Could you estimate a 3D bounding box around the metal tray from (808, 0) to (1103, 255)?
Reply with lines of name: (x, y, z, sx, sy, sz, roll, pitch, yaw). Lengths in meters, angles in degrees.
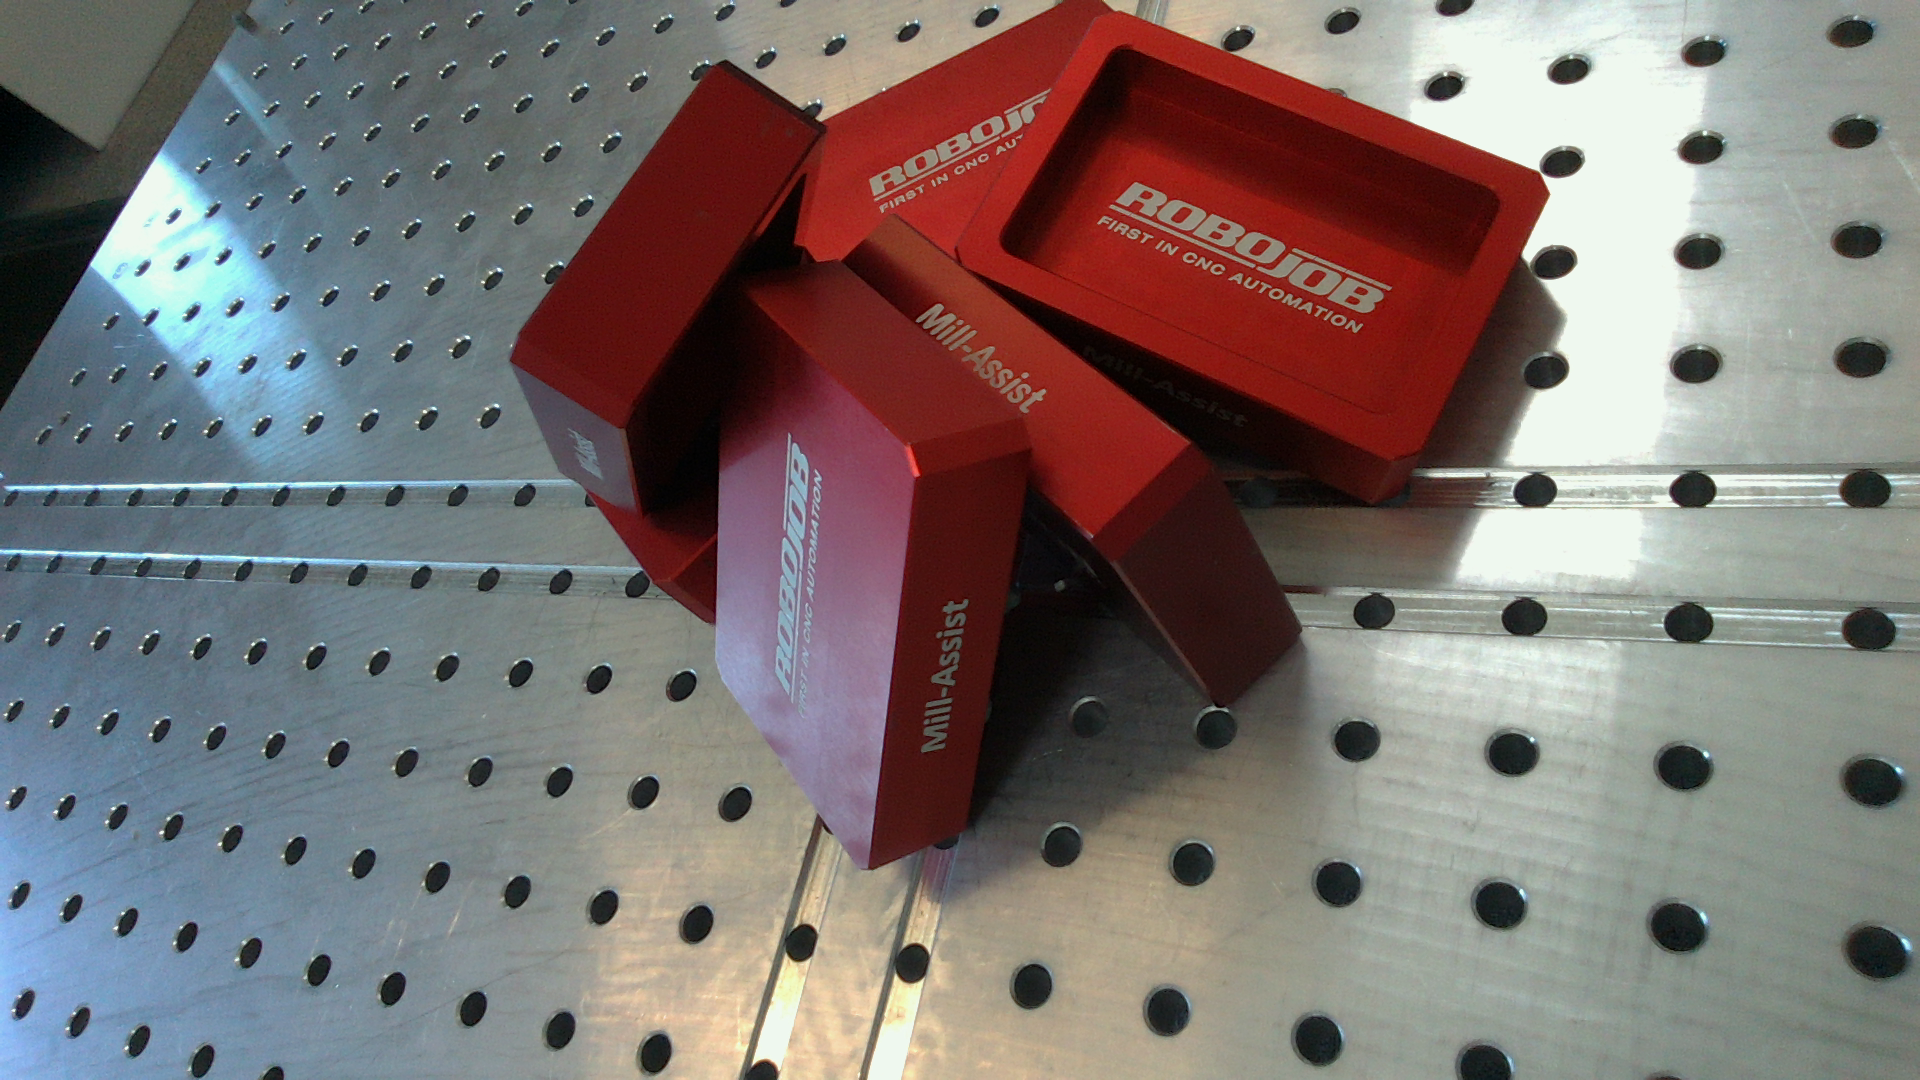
metal tray: (0.009, -0.114, 0.435, 0.130, 0.030, 0.090, -29, 54, -8)

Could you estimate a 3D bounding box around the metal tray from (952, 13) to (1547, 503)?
metal tray: (0.075, -0.078, 0.370, 0.130, 0.030, 0.090, 27, 75, 14)

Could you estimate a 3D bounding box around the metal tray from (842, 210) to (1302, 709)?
metal tray: (0.023, -0.022, 0.354, 0.030, 0.090, 0.130, -43, 51, -2)

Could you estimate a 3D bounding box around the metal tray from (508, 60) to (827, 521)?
metal tray: (-0.078, -0.061, 0.379, 0.030, 0.130, 0.090, 32, 76, -4)

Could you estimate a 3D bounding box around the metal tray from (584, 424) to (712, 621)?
metal tray: (-0.063, -0.047, 0.456, 0.130, 0.030, 0.090, -44, 52, -2)

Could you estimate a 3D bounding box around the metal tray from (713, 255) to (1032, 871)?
metal tray: (-0.028, 0.007, 0.346, 0.030, 0.130, 0.090, -16, 43, -30)
